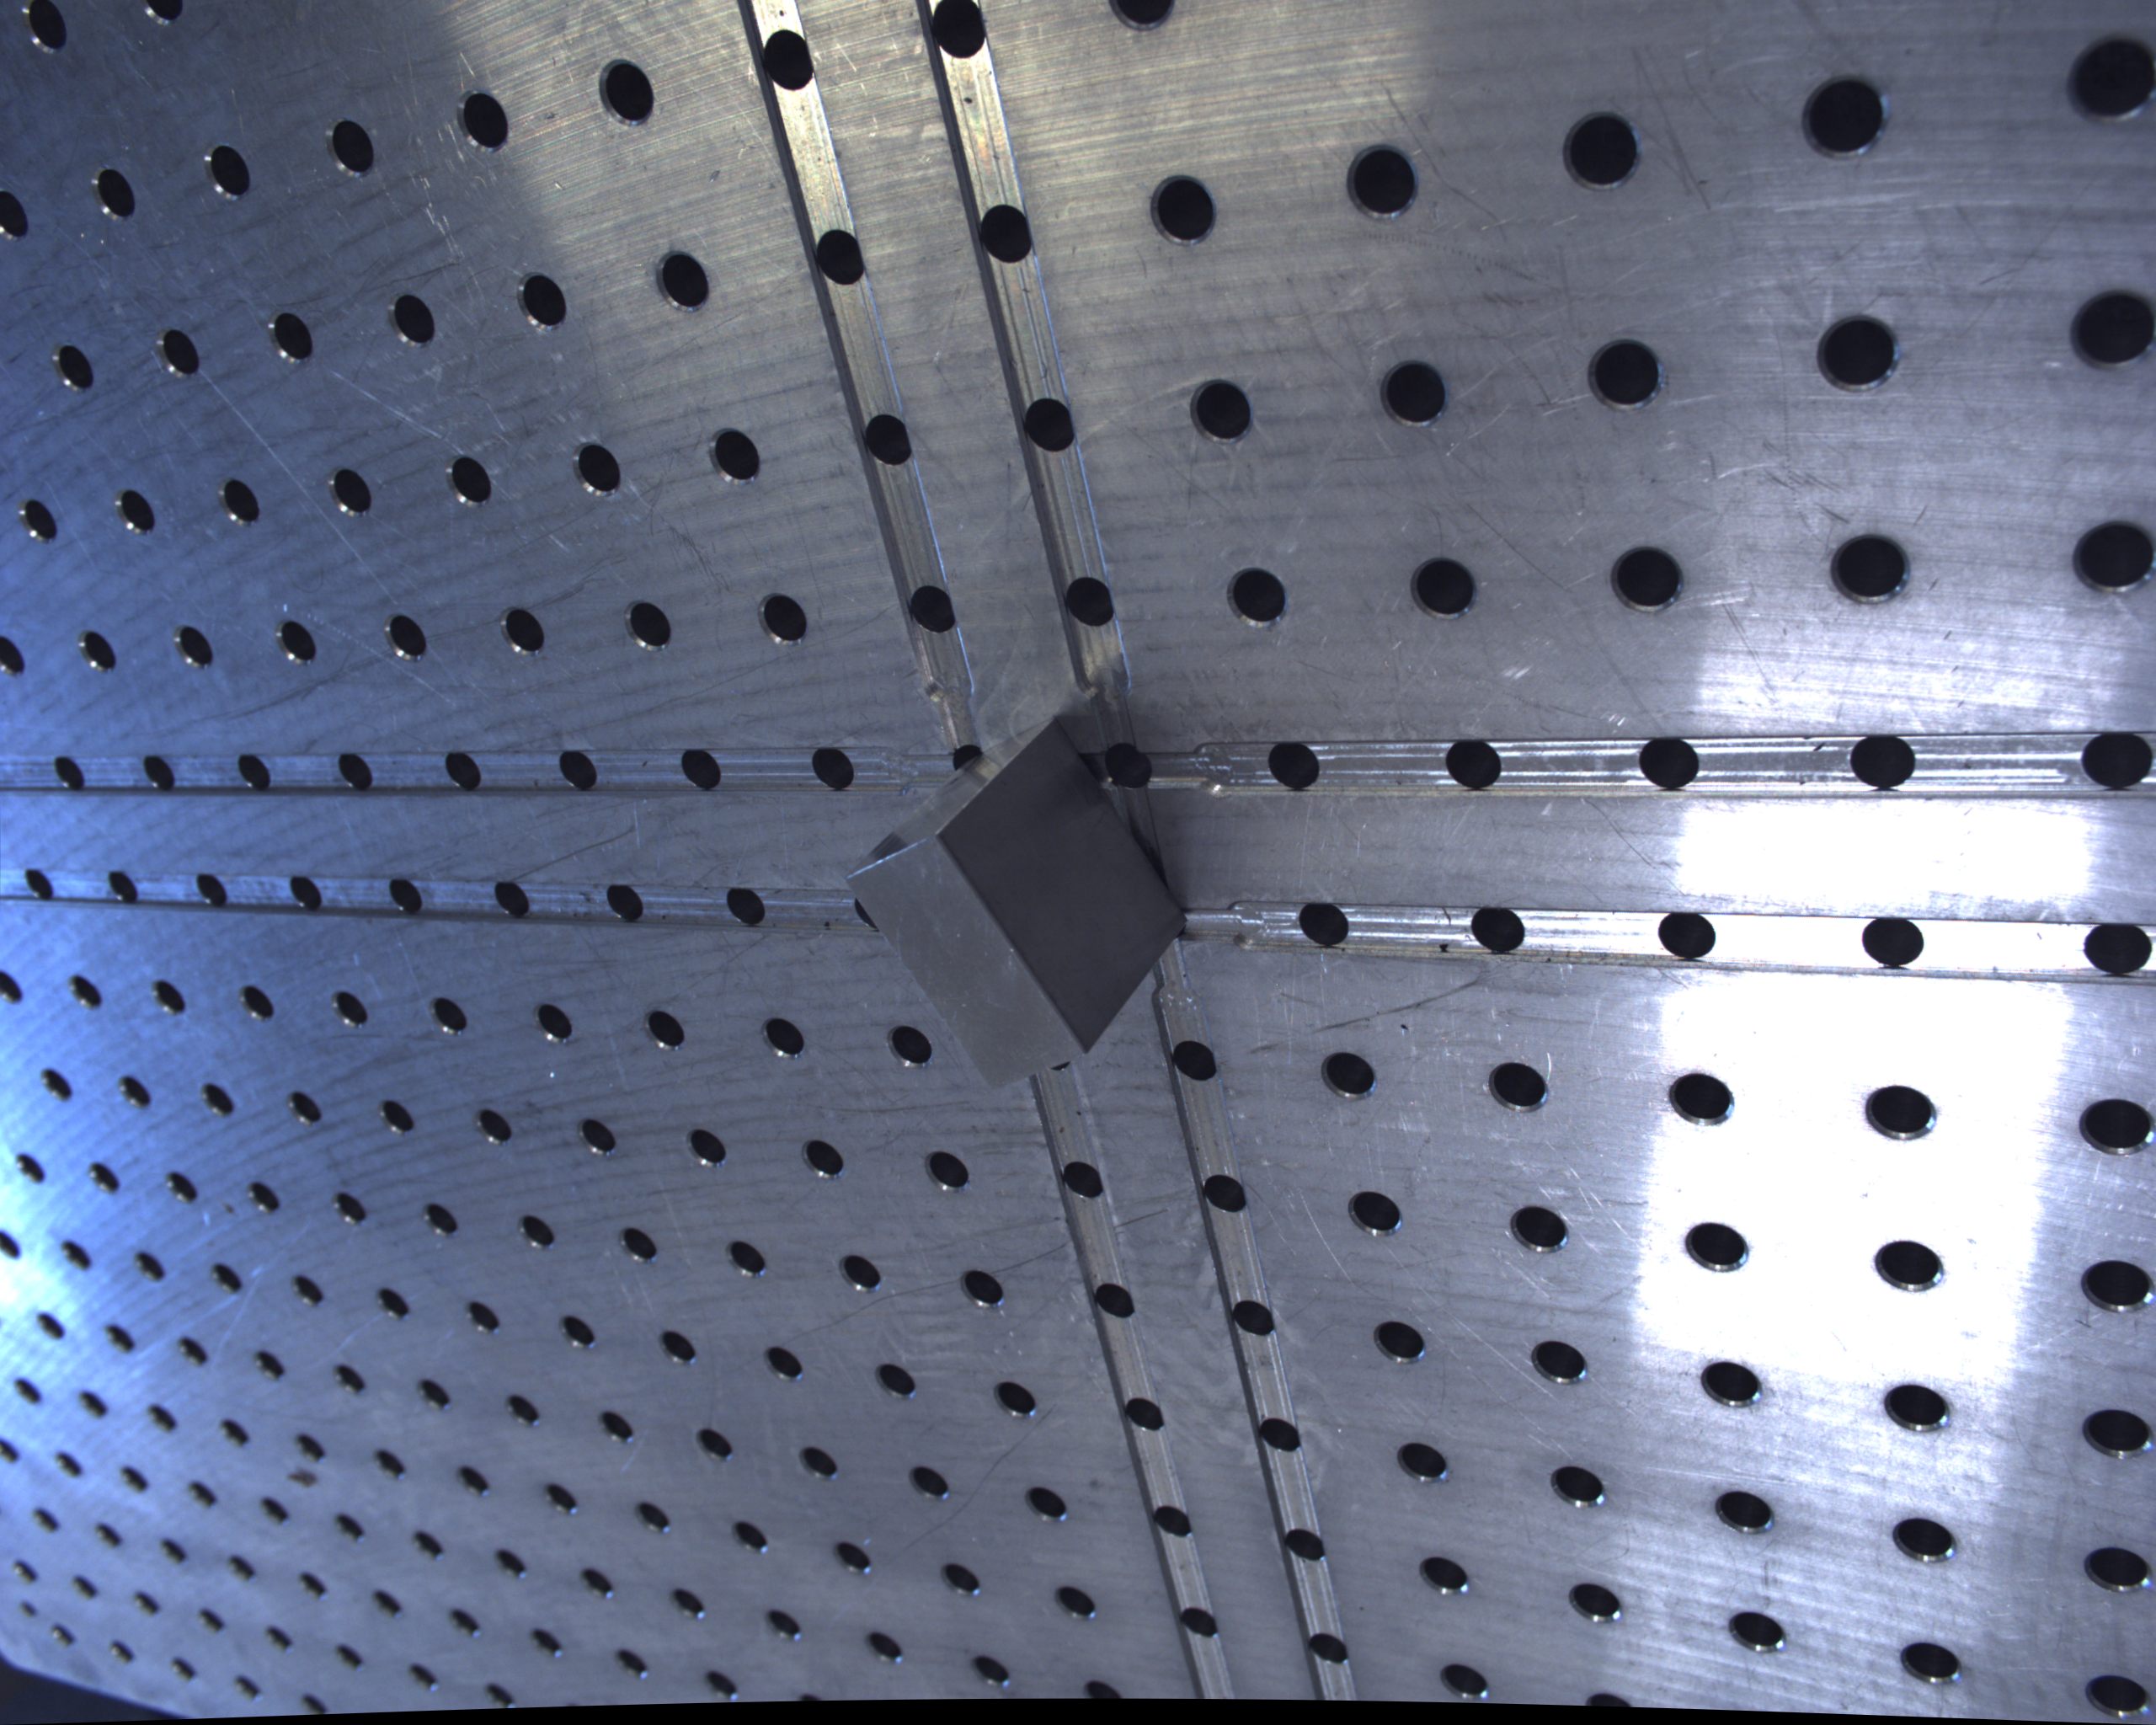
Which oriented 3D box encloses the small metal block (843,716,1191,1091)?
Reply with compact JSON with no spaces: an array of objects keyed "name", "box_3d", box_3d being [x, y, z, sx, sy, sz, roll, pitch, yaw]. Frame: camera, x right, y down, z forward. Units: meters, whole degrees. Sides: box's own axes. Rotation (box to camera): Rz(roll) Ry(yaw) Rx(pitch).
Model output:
[{"name":"small metal block","box_3d":[-0.010,0.007,0.405,0.025,0.050,0.050,-25,105,37]}]
